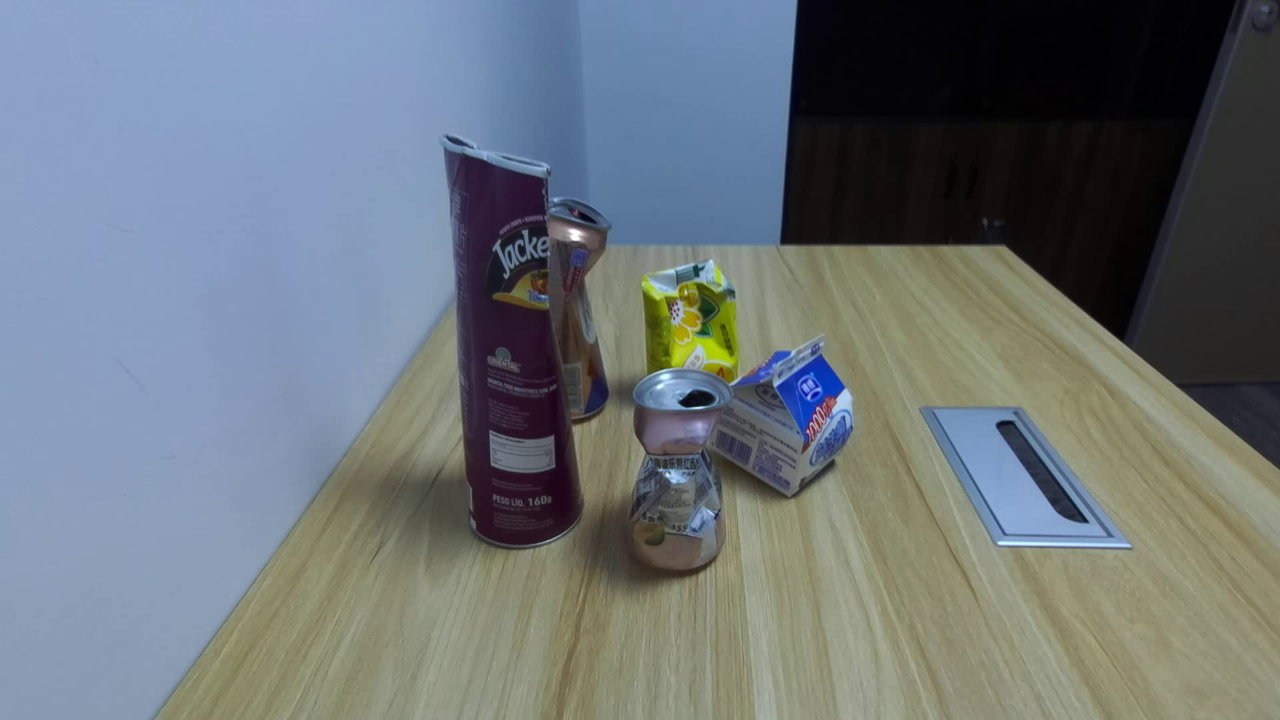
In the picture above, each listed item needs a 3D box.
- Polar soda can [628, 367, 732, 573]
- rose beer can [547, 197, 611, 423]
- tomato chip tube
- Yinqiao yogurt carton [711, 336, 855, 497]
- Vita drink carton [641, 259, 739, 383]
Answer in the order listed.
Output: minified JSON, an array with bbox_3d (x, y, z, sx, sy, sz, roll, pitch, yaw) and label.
[{"bbox_3d":[0.021,0.065,0.417,0.070,0.114,0.074,-17,34,-34],"label":"Polar soda can"},{"bbox_3d":[-0.056,-0.036,0.547,0.069,0.168,0.070,23,32,37],"label":"rose beer can"},{"bbox_3d":[-0.075,-0.003,0.413,0.078,0.236,0.090,1,25,3],"label":"tomato chip tube"},{"bbox_3d":[0.105,0.031,0.488,0.080,0.097,0.075,29,40,31],"label":"Yinqiao yogurt carton"},{"bbox_3d":[0.042,-0.017,0.563,0.071,0.110,0.046,-16,29,-23],"label":"Vita drink carton"}]
